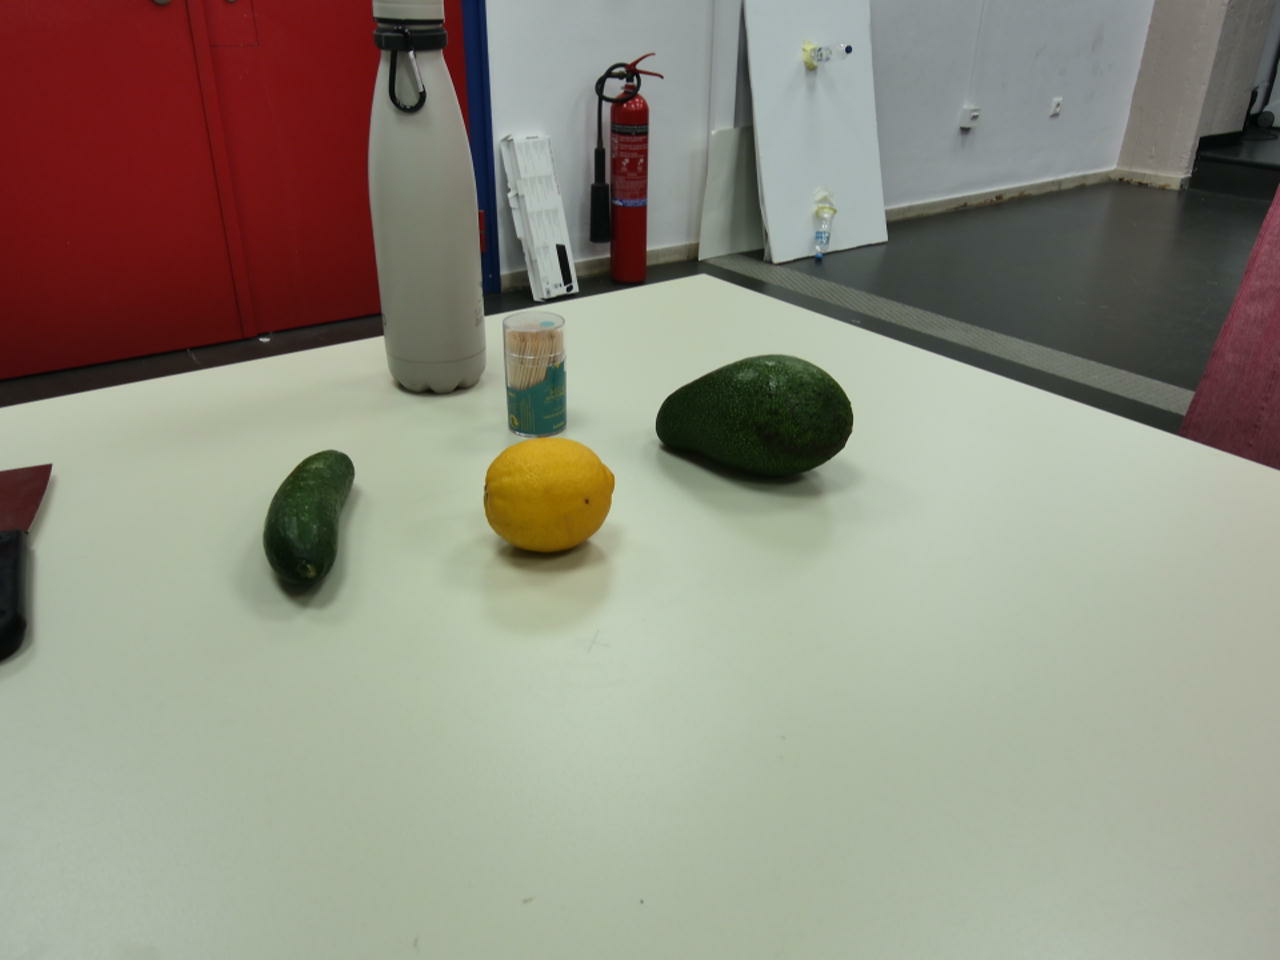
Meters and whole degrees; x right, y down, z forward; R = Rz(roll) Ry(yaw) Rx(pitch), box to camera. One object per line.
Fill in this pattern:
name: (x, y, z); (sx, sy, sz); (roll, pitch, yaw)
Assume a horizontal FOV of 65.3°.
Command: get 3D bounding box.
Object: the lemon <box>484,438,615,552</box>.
lemon: (-0.048, 0.008, 0.520); (0.067, 0.059, 0.060); (4, 25, 4)
